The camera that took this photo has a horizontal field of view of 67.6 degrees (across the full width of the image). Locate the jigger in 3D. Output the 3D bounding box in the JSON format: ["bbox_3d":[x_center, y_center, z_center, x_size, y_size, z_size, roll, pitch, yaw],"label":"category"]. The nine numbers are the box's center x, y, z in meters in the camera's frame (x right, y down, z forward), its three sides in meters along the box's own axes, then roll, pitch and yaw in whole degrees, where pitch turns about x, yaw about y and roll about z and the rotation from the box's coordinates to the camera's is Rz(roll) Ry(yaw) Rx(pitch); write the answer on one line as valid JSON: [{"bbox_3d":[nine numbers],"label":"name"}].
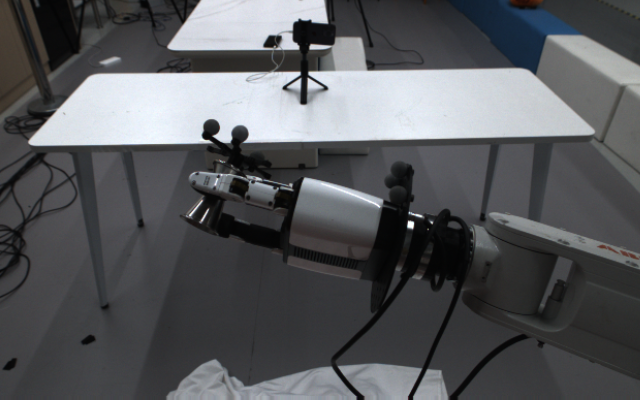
[{"bbox_3d":[-0.109,-0.004,0.501,0.043,0.043,0.071,19,72,23],"label":"jigger"}]
